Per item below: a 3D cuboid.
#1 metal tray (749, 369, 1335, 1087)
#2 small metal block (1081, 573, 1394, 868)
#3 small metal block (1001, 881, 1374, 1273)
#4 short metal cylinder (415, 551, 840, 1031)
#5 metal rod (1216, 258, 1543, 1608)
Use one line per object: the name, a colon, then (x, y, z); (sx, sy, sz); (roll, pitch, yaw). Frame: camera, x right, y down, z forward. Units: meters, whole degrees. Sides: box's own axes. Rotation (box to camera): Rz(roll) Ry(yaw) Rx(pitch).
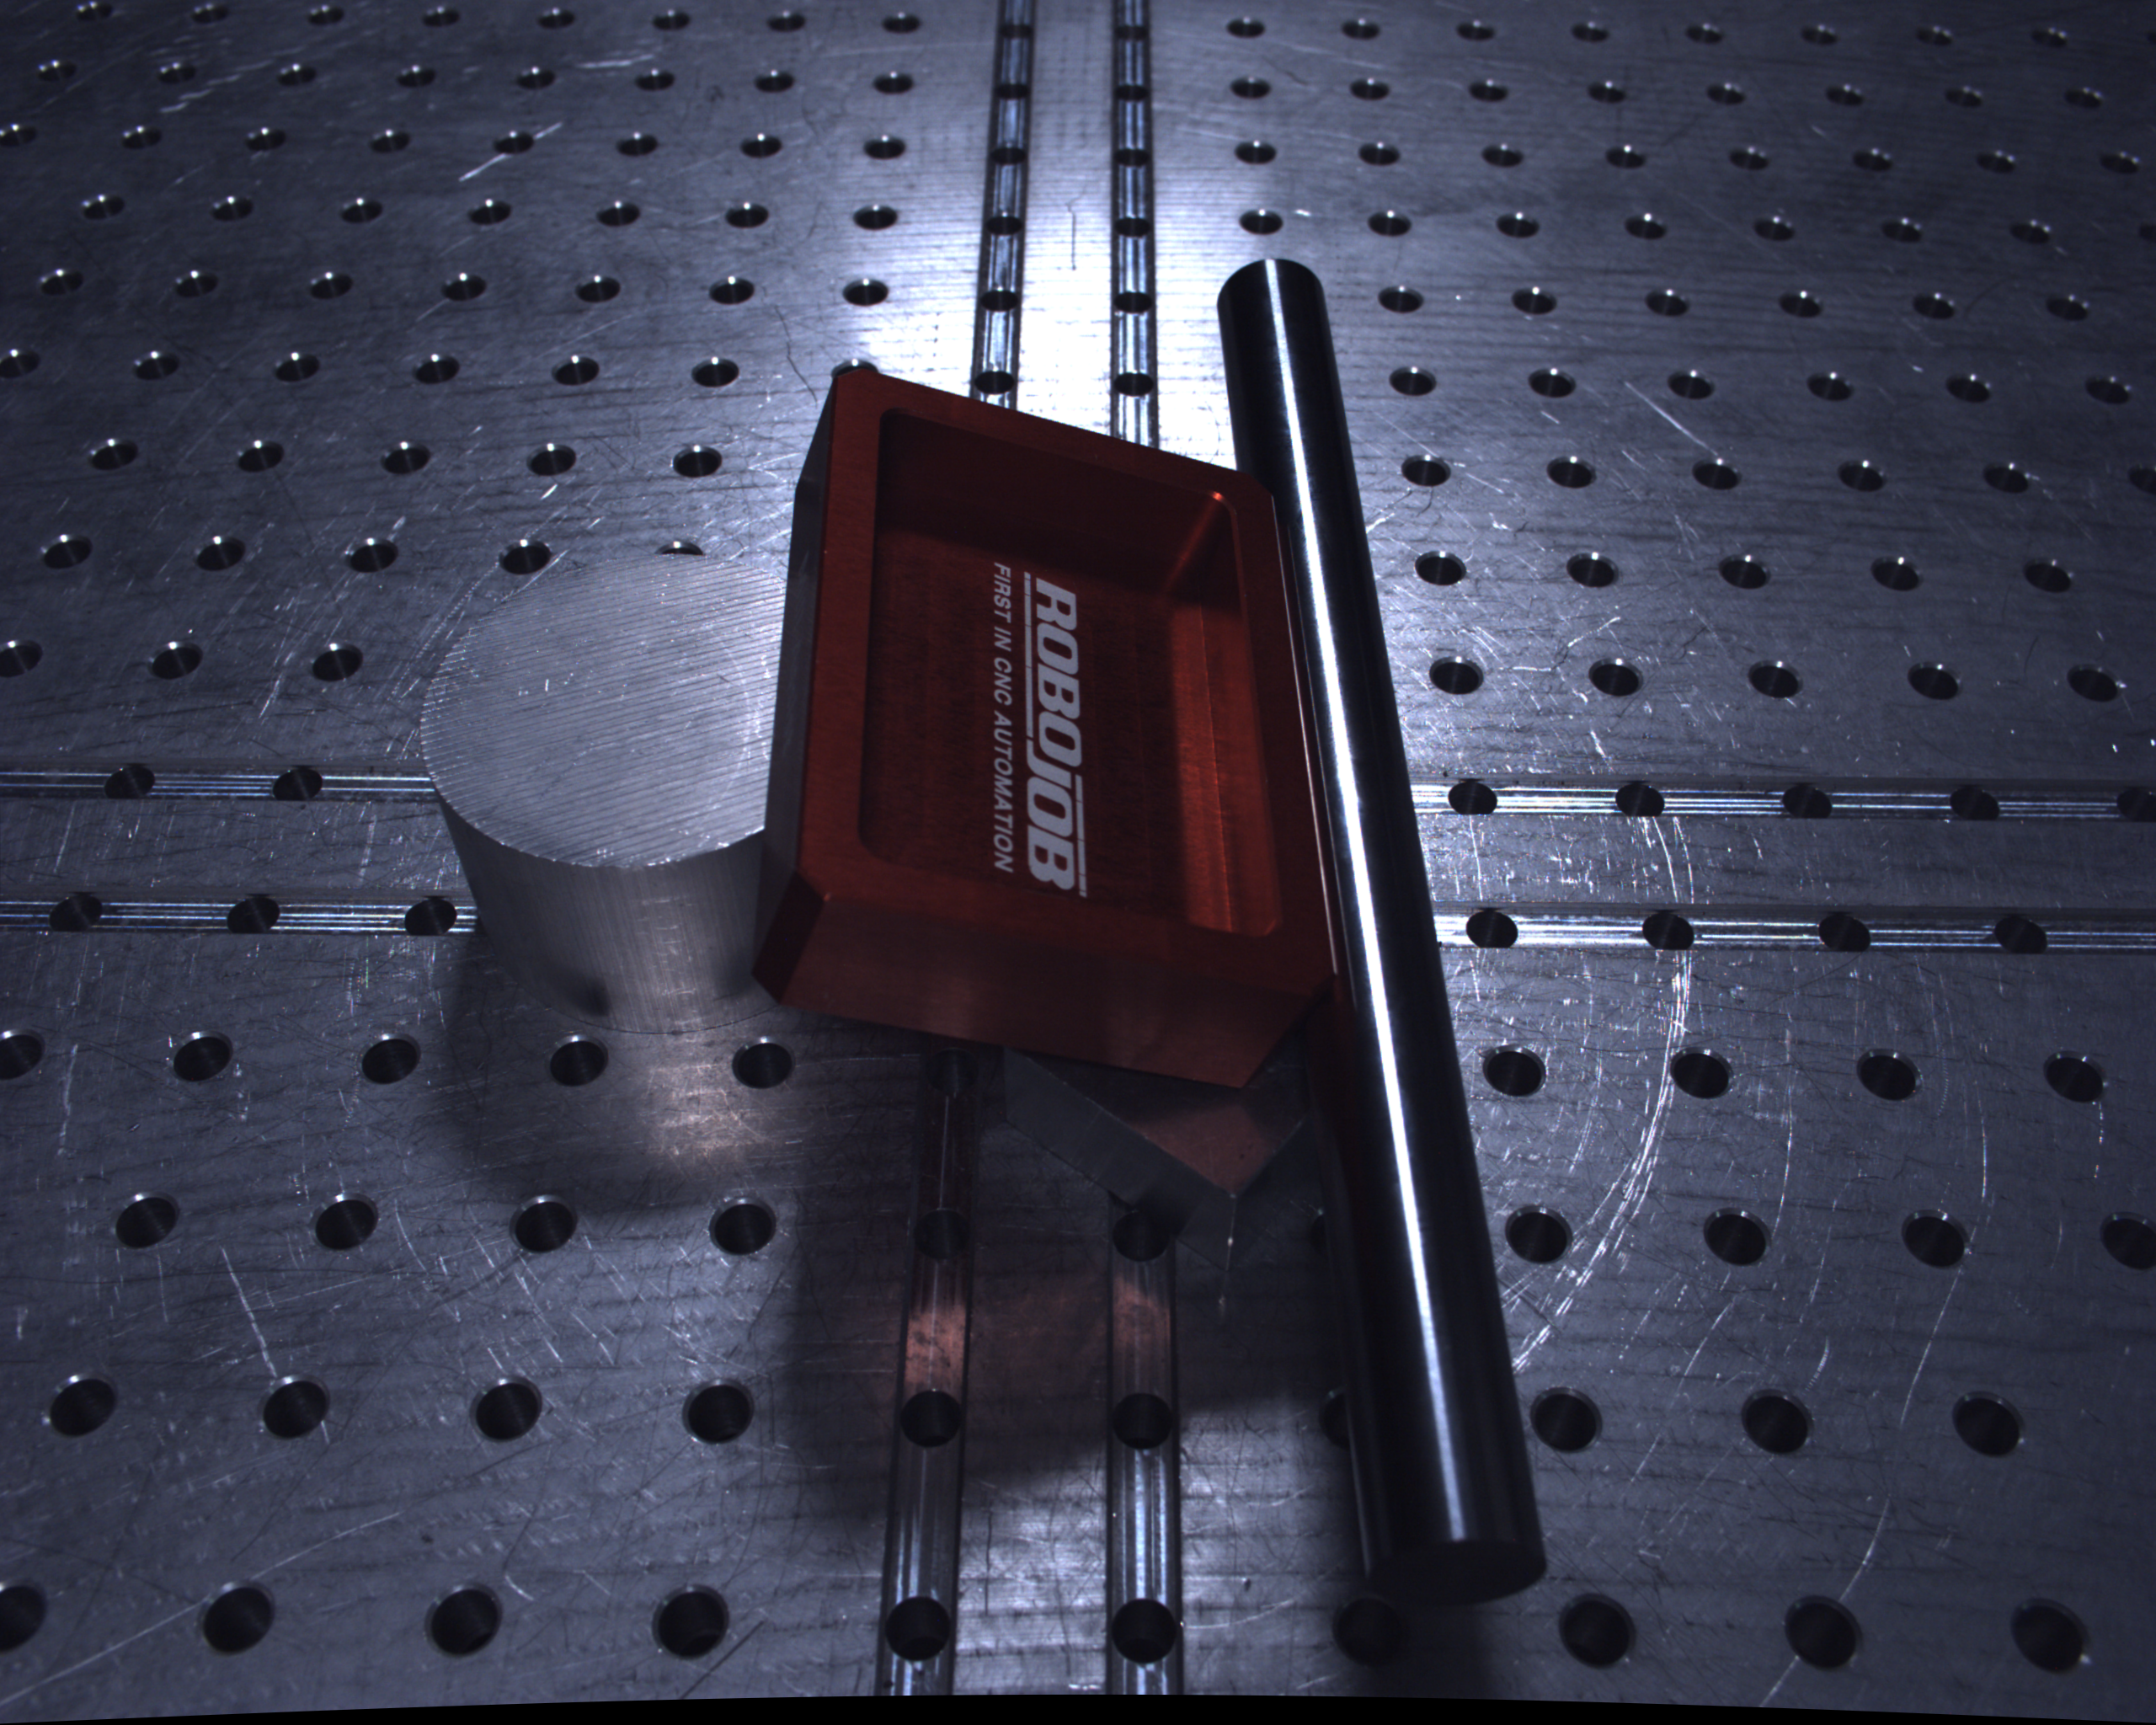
metal tray: (-0.007, -0.028, 0.376); (0.091, 0.030, 0.130); (12, 48, -16)
small metal block: (0.032, -0.030, 0.434); (0.050, 0.025, 0.050); (-12, 51, -10)
small metal block: (0.022, 0.037, 0.376); (0.050, 0.025, 0.050); (32, 57, 23)
short metal cylinder: (-0.080, -0.014, 0.401); (0.081, 0.050, 0.080); (0, 50, 0)
metal rod: (0.048, -0.015, 0.388); (0.025, 0.025, 0.300); (-1, 50, -1)
